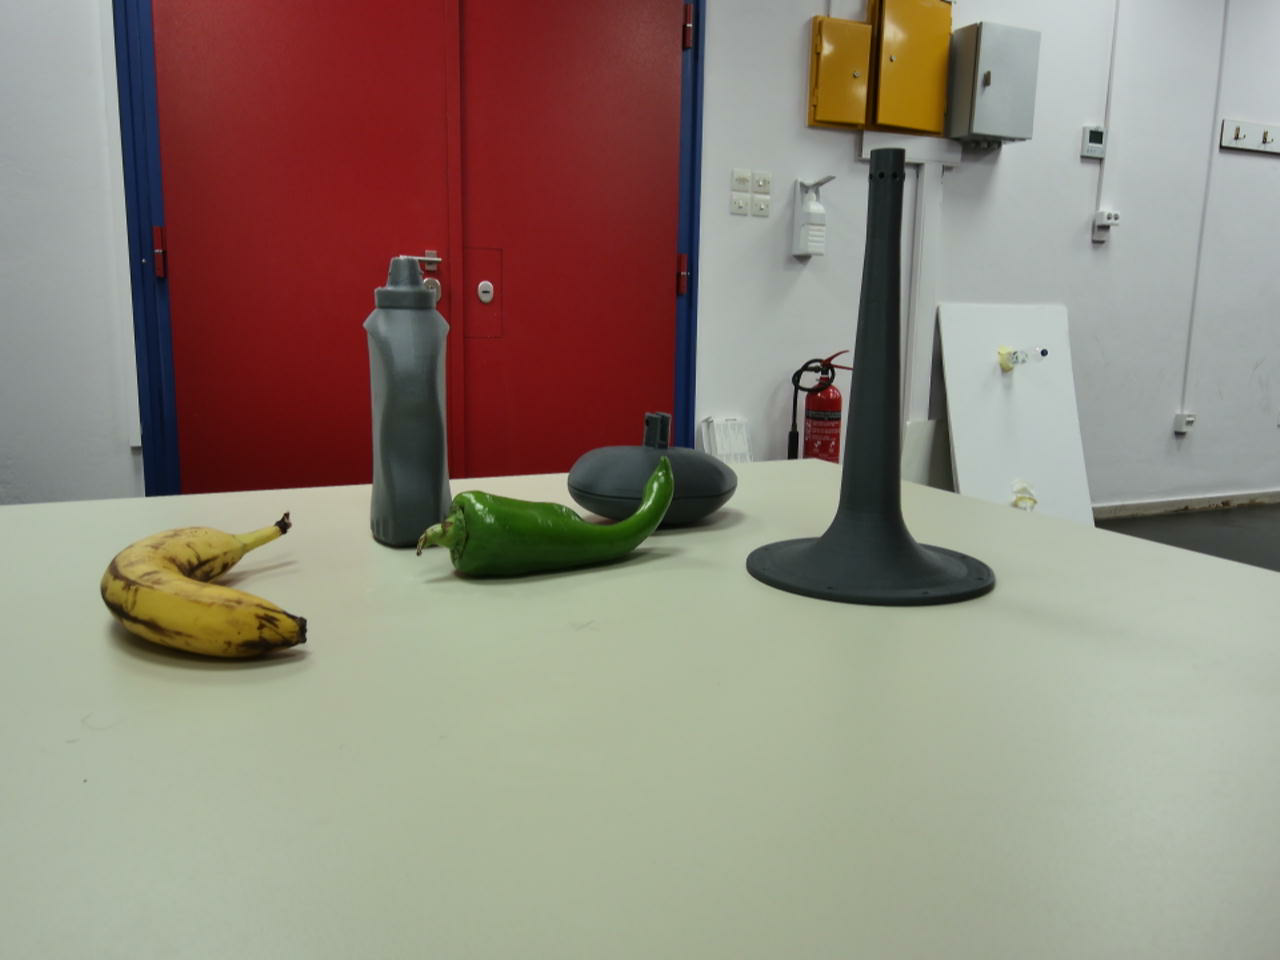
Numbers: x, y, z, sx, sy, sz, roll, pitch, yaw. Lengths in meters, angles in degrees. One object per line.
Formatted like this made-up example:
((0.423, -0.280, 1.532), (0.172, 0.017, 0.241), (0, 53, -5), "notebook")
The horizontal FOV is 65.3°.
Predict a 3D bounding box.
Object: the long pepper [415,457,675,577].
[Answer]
((-0.052, 0.023, 0.619), (0.175, 0.065, 0.058), (-4, 9, -26), "long pepper")
